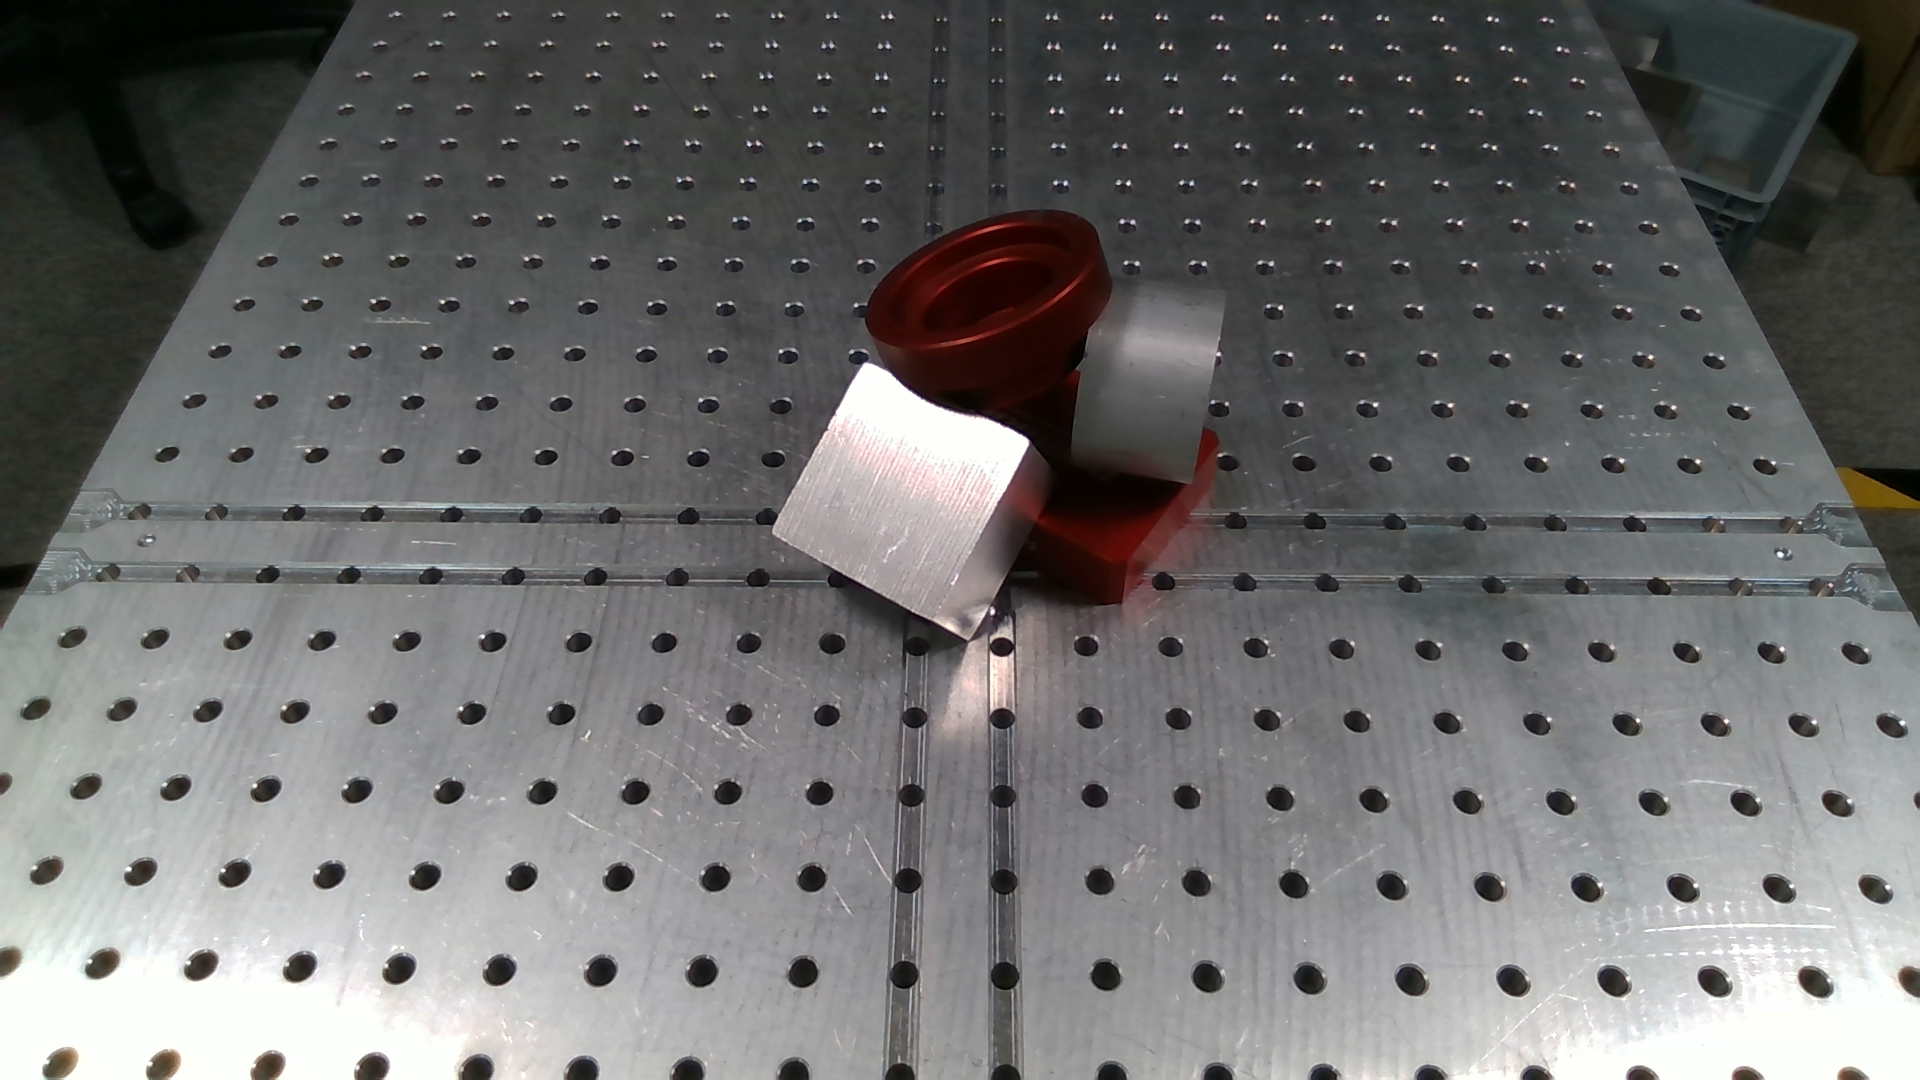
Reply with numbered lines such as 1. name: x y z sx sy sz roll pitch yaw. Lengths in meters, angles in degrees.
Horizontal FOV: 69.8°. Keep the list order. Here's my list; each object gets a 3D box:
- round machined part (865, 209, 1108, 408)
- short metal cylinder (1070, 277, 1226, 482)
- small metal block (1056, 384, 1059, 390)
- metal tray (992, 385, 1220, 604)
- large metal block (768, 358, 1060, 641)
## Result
1. round machined part: 0.014 -0.090 0.557 0.098 0.042 0.098 -16 37 12
2. short metal cylinder: 0.078 -0.067 0.571 0.050 0.080 0.080 10 51 9
3. small metal block: 0.024 -0.099 0.615 0.050 0.050 0.025 15 52 12
4. metal tray: 0.038 -0.036 0.618 0.130 0.030 0.090 28 55 21
5. large metal block: -0.017 -0.016 0.563 0.080 0.050 0.080 27 86 21
